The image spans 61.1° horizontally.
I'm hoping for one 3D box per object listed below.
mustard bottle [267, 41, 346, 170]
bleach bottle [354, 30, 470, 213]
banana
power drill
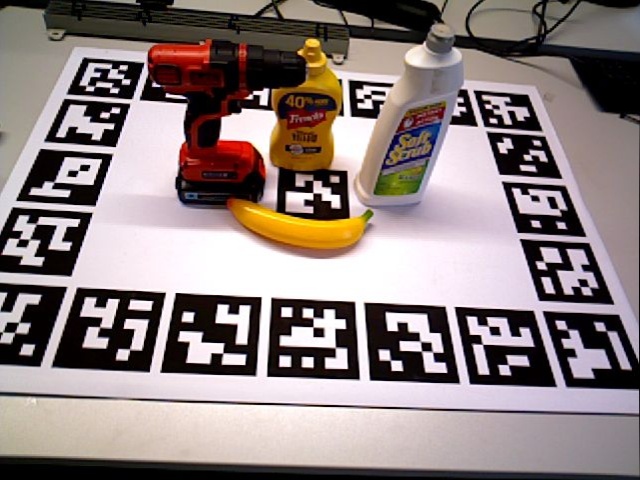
[{"bbox_3d":[-0.017,-0.180,0.718,0.095,0.196,0.057,5,51,-6],"label":"mustard bottle"},{"bbox_3d":[0.115,-0.139,0.677,0.101,0.256,0.067,-3,54,-11],"label":"bleach bottle"},{"bbox_3d":[-0.020,-0.021,0.693,0.196,0.039,0.073,5,57,-1],"label":"banana"},{"bbox_3d":[-0.114,-0.151,0.659,0.183,0.192,0.056,3,45,-9],"label":"power drill"}]
